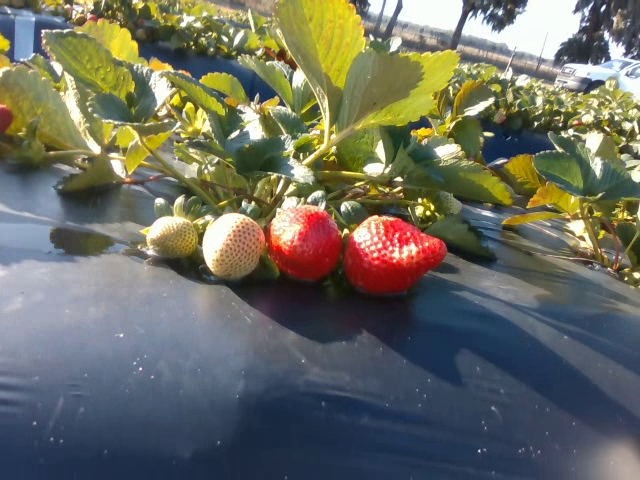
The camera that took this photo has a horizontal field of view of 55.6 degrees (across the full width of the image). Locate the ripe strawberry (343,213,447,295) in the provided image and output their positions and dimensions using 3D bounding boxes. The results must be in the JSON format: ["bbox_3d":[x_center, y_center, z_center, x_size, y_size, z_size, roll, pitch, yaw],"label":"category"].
[{"bbox_3d":[0.044,0.007,0.315,0.056,0.052,0.067,-35,18,-34],"label":"ripe strawberry"}]

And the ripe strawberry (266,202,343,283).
[{"bbox_3d":[-0.009,0.000,0.310,0.050,0.044,0.061,34,8,4],"label":"ripe strawberry"}]
